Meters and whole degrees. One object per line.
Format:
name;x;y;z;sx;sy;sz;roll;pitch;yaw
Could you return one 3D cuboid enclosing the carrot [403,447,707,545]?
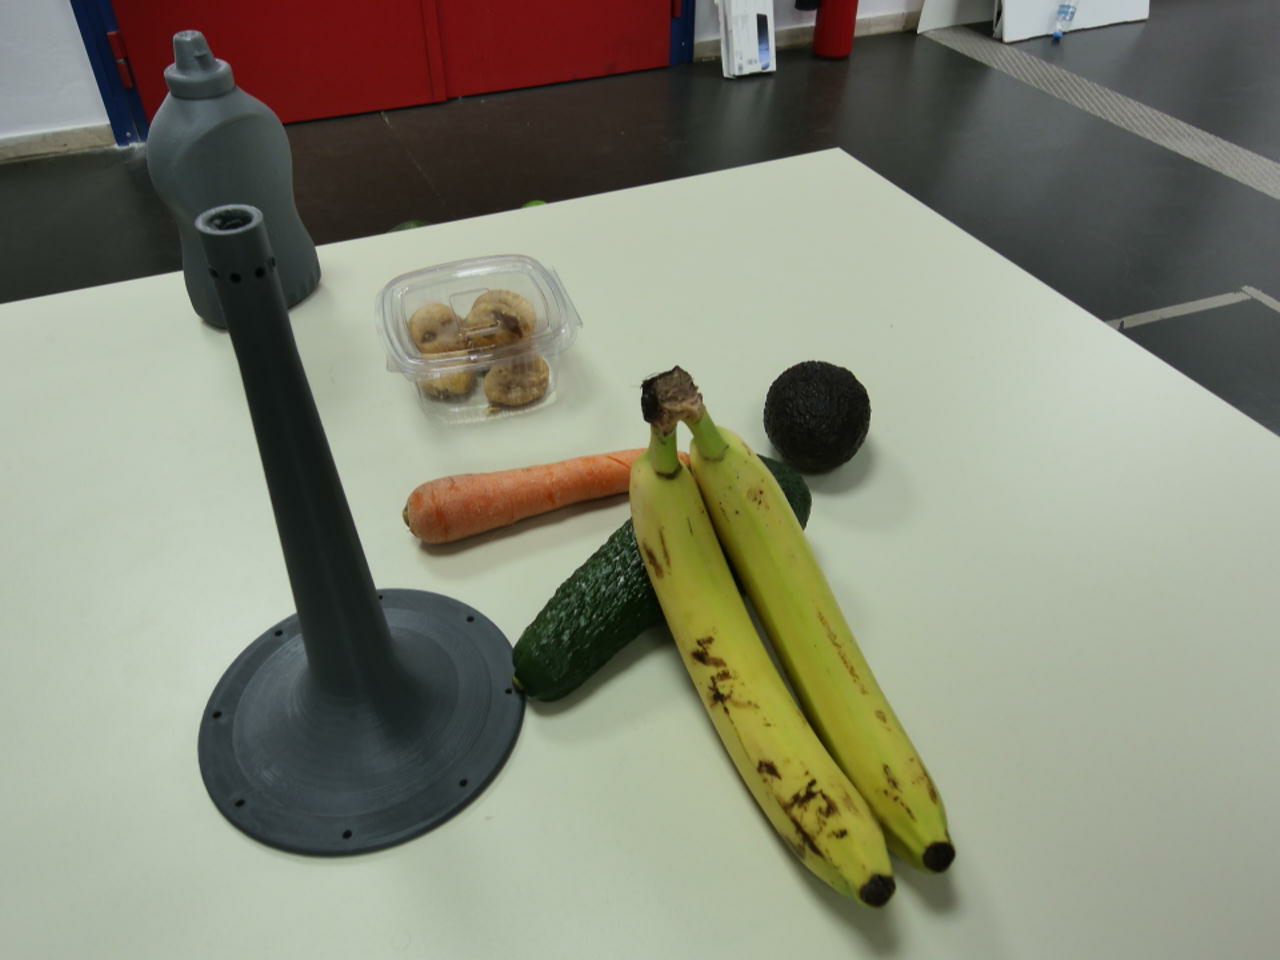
carrot;-0.048;0.000;0.613;0.196;0.041;0.039;-15;42;-19
